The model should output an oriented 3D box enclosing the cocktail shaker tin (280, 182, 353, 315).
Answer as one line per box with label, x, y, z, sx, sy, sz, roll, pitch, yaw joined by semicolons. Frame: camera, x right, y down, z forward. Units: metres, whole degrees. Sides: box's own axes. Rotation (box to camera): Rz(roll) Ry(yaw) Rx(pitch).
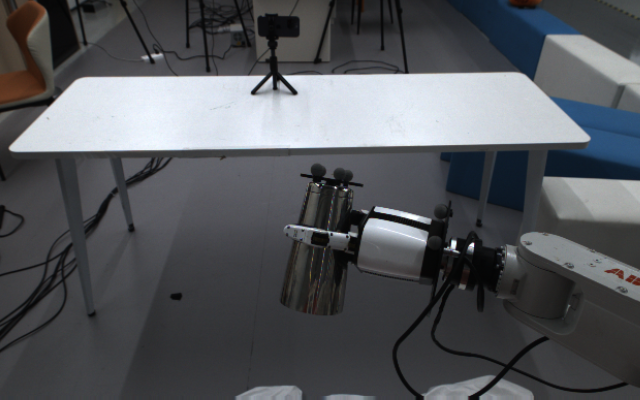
cocktail shaker tin;0.002;0.064;0.679;0.093;0.170;0.093;10;3;-1
